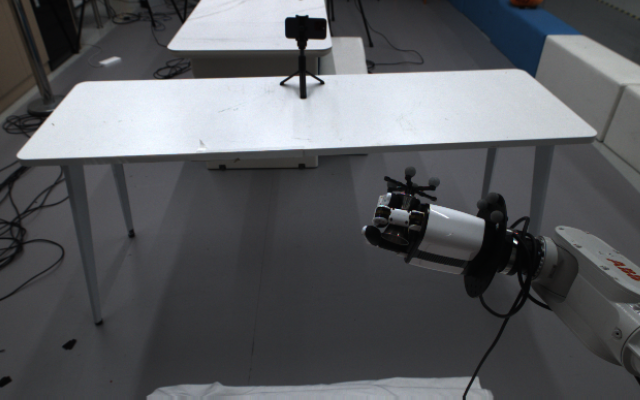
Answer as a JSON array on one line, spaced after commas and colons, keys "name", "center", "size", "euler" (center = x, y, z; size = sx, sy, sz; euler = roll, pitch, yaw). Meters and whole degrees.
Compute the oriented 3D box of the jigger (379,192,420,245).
[{"name": "jigger", "center": [0.124, 0.027, 0.727], "size": [0.043, 0.043, 0.071], "euler": [15, 70, 18]}]
